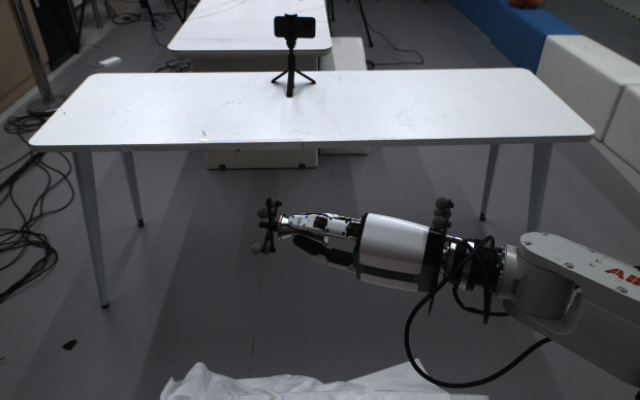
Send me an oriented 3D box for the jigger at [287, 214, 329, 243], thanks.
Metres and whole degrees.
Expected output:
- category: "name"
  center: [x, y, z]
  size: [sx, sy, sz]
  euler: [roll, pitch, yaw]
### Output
- category: "jigger"
  center: [-0.016, 0.038, 0.692]
  size: [0.071, 0.043, 0.043]
  euler: [5, 34, 13]
